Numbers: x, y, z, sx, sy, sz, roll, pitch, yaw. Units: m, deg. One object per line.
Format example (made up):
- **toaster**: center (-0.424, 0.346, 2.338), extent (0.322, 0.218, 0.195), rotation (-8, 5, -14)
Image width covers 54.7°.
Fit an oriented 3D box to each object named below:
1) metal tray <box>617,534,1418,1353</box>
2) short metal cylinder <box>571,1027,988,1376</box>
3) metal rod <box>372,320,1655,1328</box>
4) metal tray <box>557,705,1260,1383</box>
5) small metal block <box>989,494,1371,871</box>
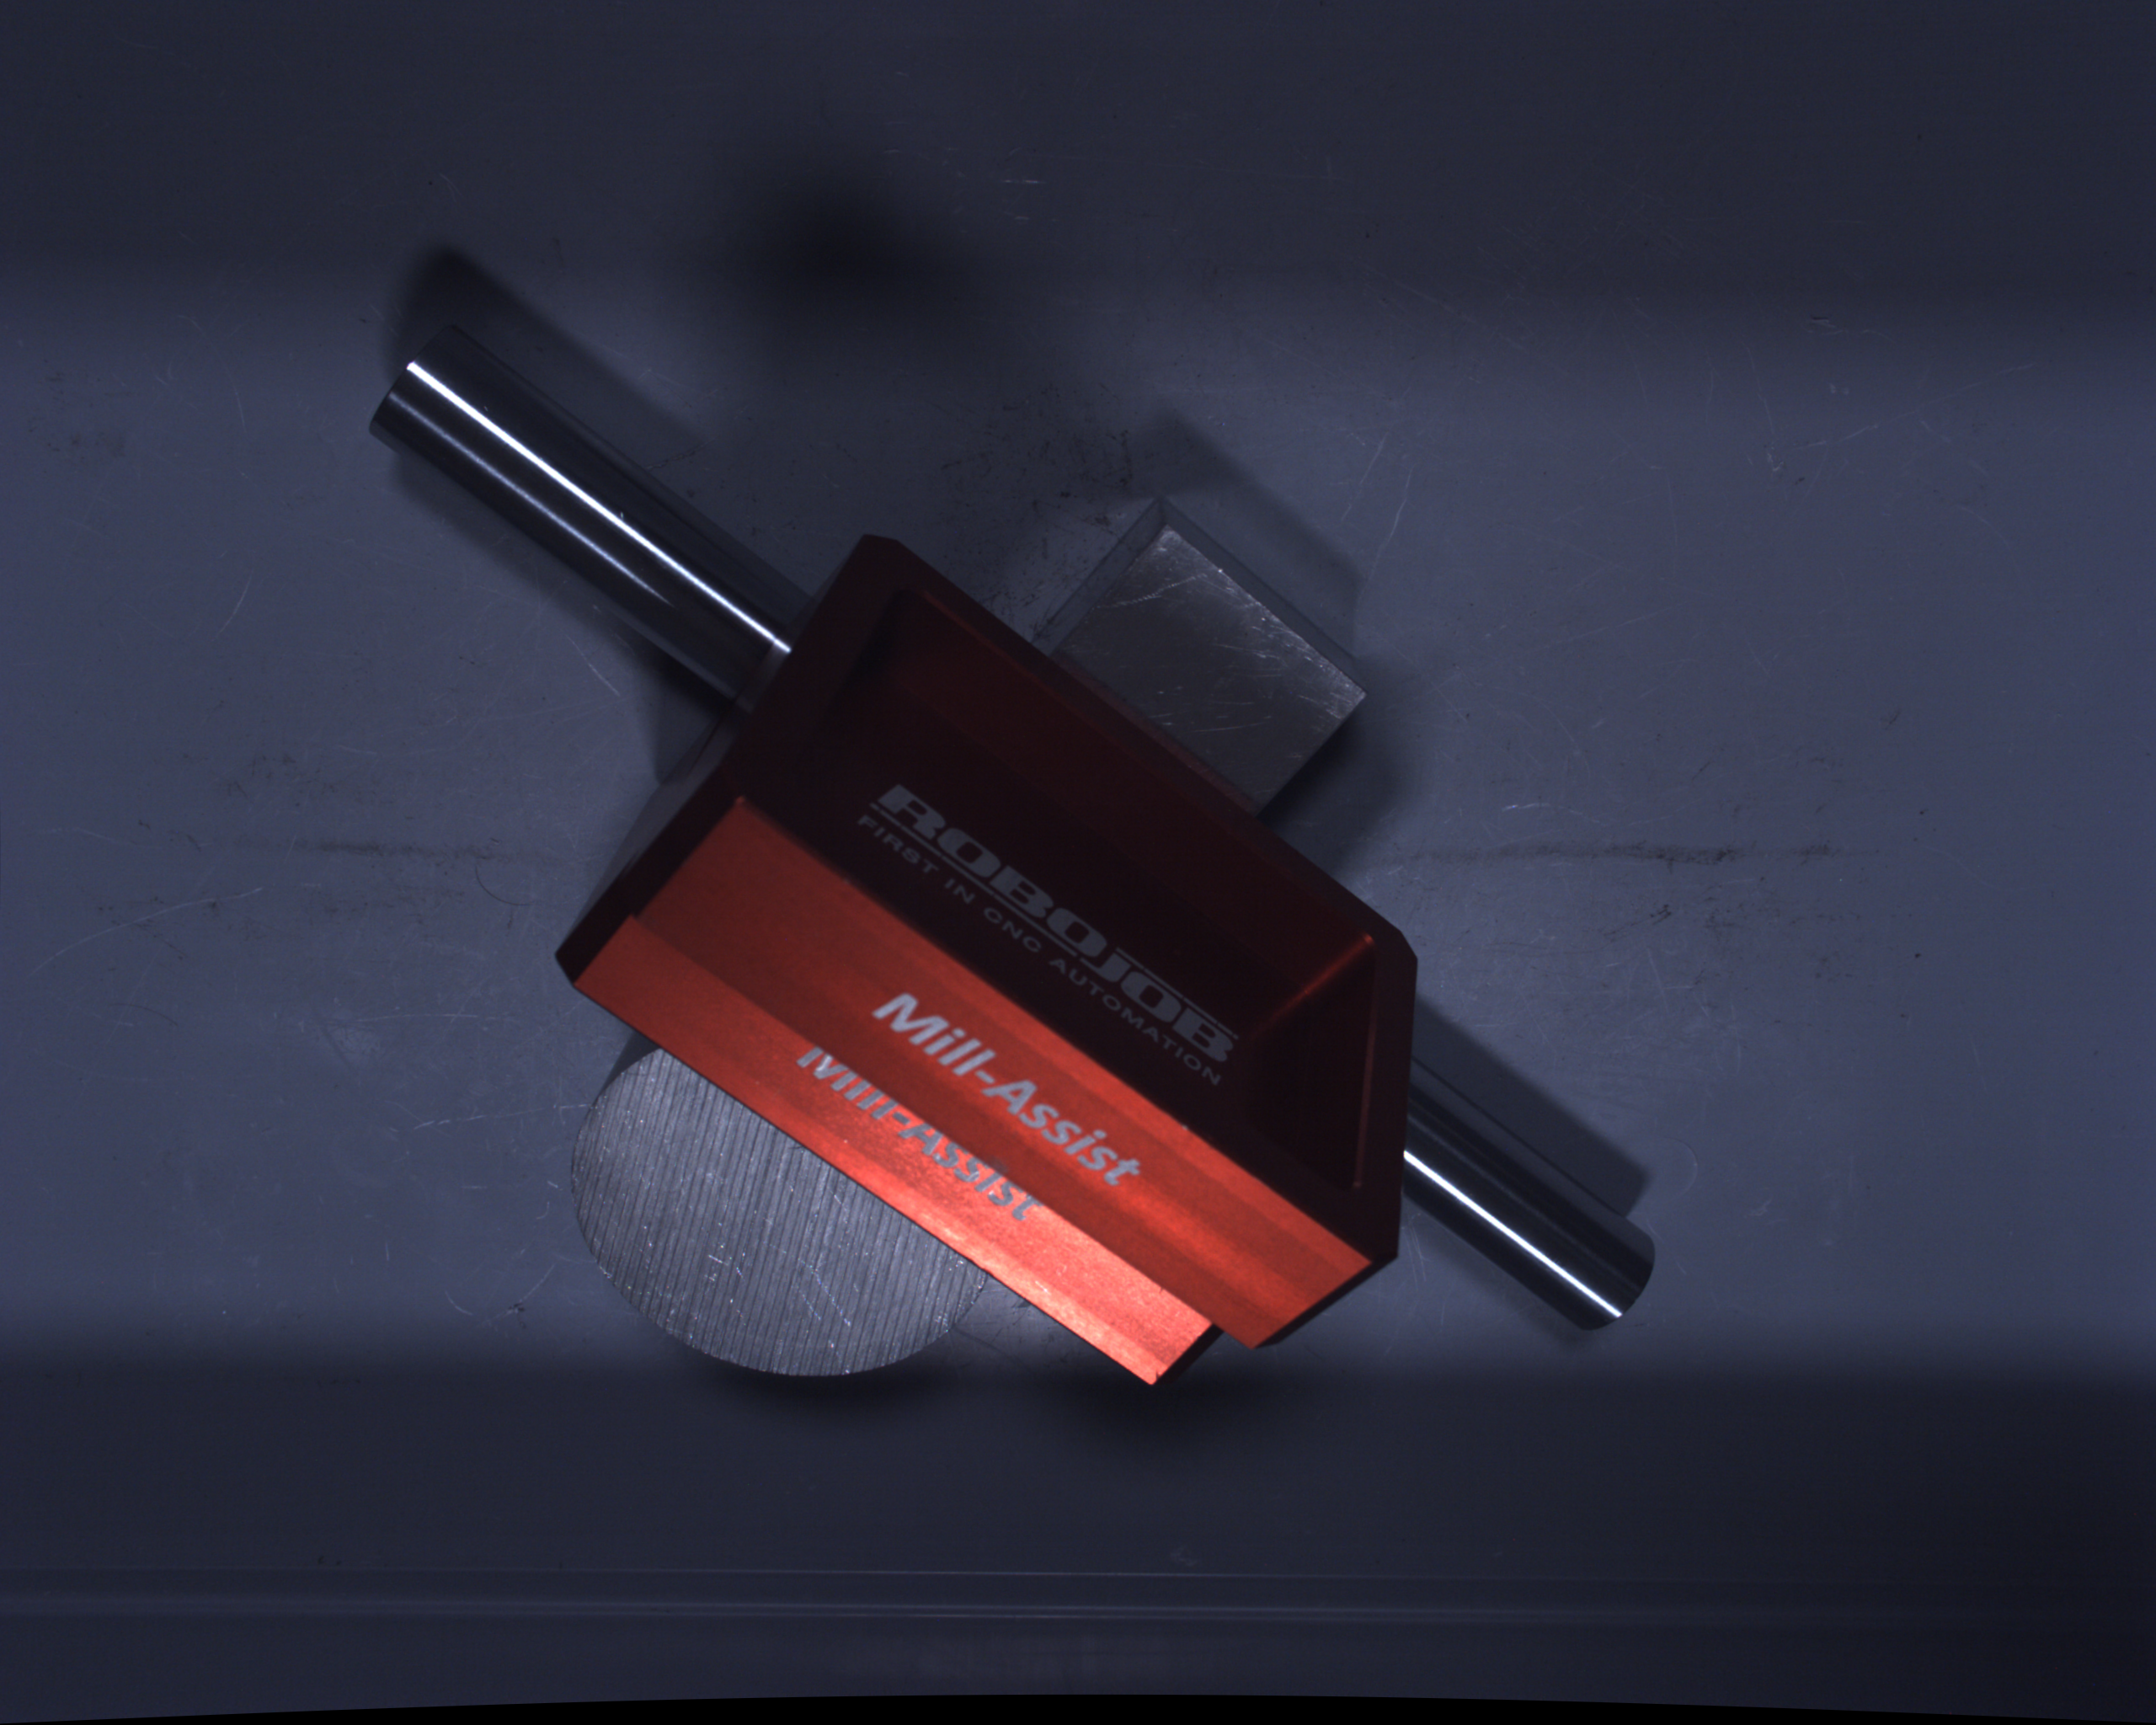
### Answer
- **metal tray**: center (-0.002, 0.011, 0.352), extent (0.130, 0.090, 0.030), rotation (37, 123, -13)
- **short metal cylinder**: center (-0.052, 0.053, 0.409), extent (0.080, 0.050, 0.079), rotation (2, 117, 4)
- **metal rod**: center (-0.003, 0.000, 0.411), extent (0.301, 0.025, 0.025), rotation (37, 106, -13)
- **metal tray**: center (-0.025, 0.029, 0.386), extent (0.130, 0.090, 0.030), rotation (37, 106, -13)
- **small metal block**: center (0.019, -0.033, 0.398), extent (0.050, 0.025, 0.050), rotation (39, 105, -14)
